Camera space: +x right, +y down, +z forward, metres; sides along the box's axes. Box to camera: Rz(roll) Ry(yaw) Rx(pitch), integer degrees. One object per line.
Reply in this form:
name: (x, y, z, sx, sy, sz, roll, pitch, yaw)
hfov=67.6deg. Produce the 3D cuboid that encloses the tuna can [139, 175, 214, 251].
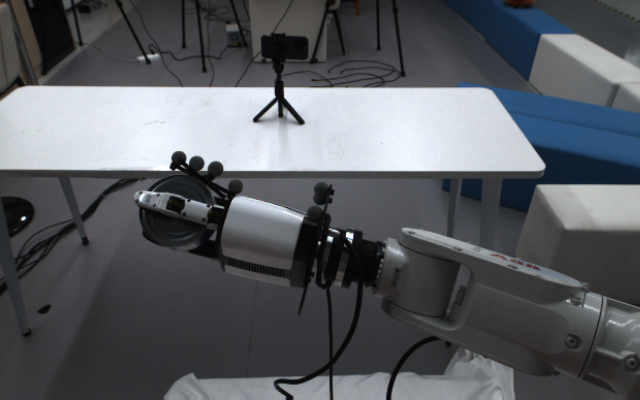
tuna can: (-0.161, 0.015, 0.566, 0.085, 0.034, 0.085, 0, 72, 0)
